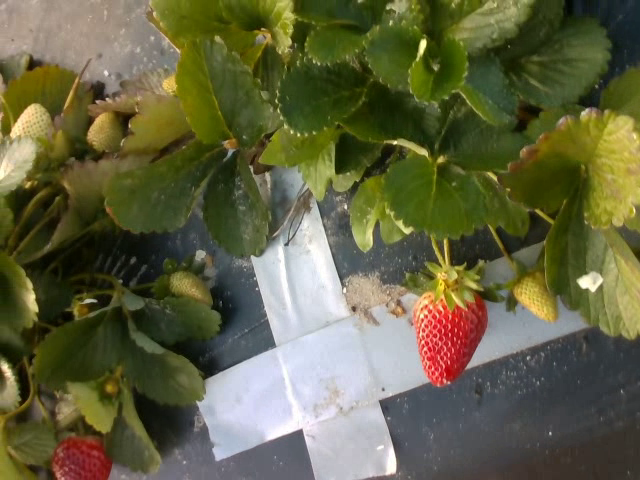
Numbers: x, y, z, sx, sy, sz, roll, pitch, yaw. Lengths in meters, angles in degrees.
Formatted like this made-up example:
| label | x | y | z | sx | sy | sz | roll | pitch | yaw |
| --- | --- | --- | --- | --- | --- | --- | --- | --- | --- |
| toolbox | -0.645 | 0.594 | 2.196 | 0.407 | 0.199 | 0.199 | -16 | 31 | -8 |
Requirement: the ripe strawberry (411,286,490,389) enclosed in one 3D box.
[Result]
| label | x | y | z | sx | sy | sz | roll | pitch | yaw |
| --- | --- | --- | --- | --- | --- | --- | --- | --- | --- |
| ripe strawberry | 0.032 | 0.024 | 0.148 | 0.023 | 0.026 | 0.020 | -6 | -21 | 41 |

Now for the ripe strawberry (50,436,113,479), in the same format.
| label | x | y | z | sx | sy | sz | roll | pitch | yaw |
| --- | --- | --- | --- | --- | --- | --- | --- | --- | --- |
| ripe strawberry | -0.072 | 0.071 | 0.185 | 0.018 | 0.023 | 0.020 | -30 | -19 | 39 |
